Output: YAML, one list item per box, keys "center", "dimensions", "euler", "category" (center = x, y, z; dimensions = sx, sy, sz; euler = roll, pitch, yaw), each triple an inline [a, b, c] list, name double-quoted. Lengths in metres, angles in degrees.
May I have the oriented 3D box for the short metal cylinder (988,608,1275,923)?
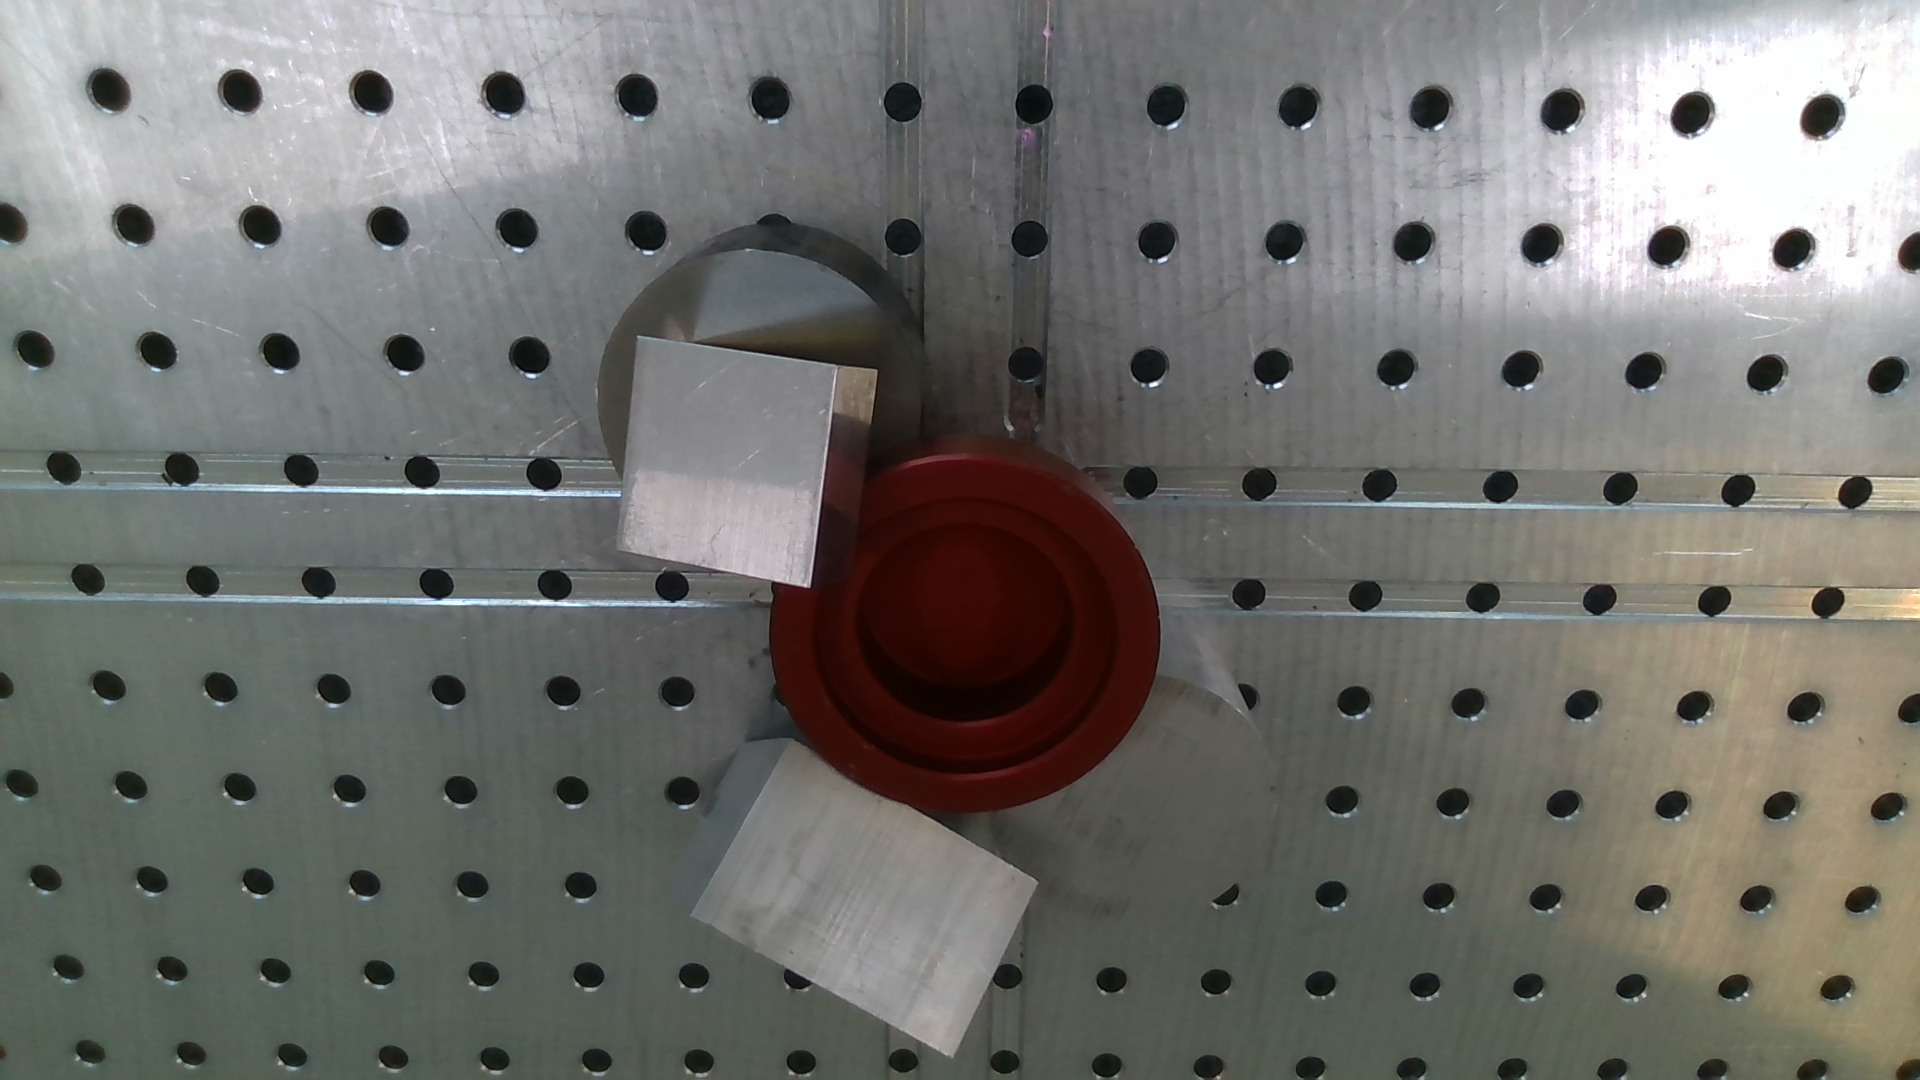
- center: [0.048, 0.064, 0.406]
  dimensions: [0.080, 0.050, 0.080]
  euler: [0, 110, 0]
  category: "short metal cylinder"

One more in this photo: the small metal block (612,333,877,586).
- center: [-0.050, -0.019, 0.322]
  dimensions: [0.050, 0.025, 0.050]
  euler: [10, 98, 17]
  category: "small metal block"

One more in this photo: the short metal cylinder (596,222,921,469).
- center: [-0.051, -0.041, 0.367]
  dimensions: [0.080, 0.050, 0.080]
  euler: [0, 110, 0]
  category: "short metal cylinder"

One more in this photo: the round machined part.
- center: [0.001, 0.018, 0.362]
  dimensions: [0.098, 0.042, 0.098]
  euler: [0, 110, 0]
  category: "round machined part"

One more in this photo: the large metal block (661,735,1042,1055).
- center: [-0.035, 0.099, 0.396]
  dimensions: [0.080, 0.080, 0.050]
  euler: [32, 73, -11]
  category: "large metal block"
